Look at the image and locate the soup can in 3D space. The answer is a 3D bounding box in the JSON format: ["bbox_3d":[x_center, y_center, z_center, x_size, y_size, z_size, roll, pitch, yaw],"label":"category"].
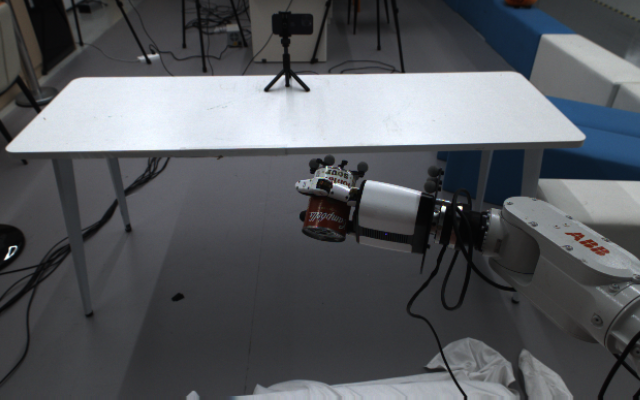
[{"bbox_3d":[0.015,0.006,0.740,0.067,0.067,0.101,9,71,9],"label":"soup can"}]
